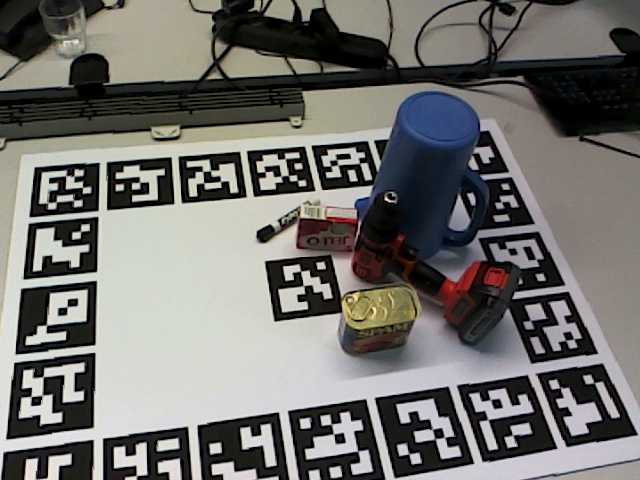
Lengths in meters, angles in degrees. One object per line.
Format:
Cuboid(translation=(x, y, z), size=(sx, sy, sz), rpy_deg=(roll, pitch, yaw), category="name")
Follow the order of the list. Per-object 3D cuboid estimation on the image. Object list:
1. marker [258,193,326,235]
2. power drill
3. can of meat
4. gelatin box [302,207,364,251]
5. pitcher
Cuboid(translation=(-0.044, -0.041, 0.971), size=(0.121, 0.019, 0.020), rpy_deg=(-29, 63, -22), category="marker")
Cuboid(translation=(0.134, 0.026, 0.842), size=(0.187, 0.184, 0.057), rpy_deg=(27, 59, 7), category="power drill")
Cuboid(translation=(0.074, 0.111, 0.833), size=(0.101, 0.083, 0.058), rpy_deg=(-6, 54, -9), category="can of meat")
Cuboid(translation=(0.019, -0.015, 0.929), size=(0.089, 0.073, 0.030), rpy_deg=(5, 59, -3), category="gelatin box")
Cuboid(translation=(0.167, -0.075, 0.889), size=(0.189, 0.242, 0.133), rpy_deg=(19, 58, 16), category="pitcher")
